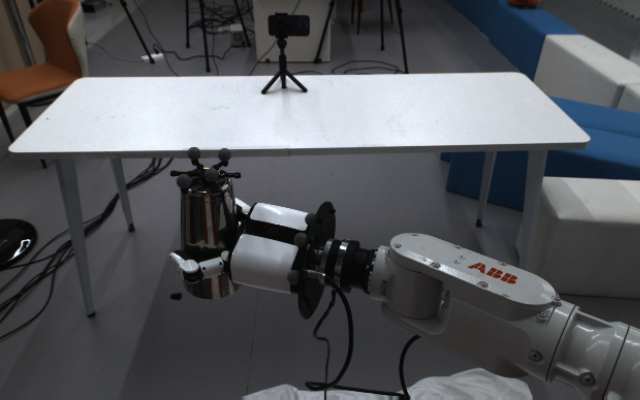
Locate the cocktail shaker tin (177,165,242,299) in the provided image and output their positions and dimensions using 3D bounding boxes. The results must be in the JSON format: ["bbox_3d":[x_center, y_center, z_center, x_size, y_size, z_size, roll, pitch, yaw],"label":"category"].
[{"bbox_3d":[-0.150,0.044,0.671,0.093,0.170,0.093,3,35,-2],"label":"cocktail shaker tin"}]
